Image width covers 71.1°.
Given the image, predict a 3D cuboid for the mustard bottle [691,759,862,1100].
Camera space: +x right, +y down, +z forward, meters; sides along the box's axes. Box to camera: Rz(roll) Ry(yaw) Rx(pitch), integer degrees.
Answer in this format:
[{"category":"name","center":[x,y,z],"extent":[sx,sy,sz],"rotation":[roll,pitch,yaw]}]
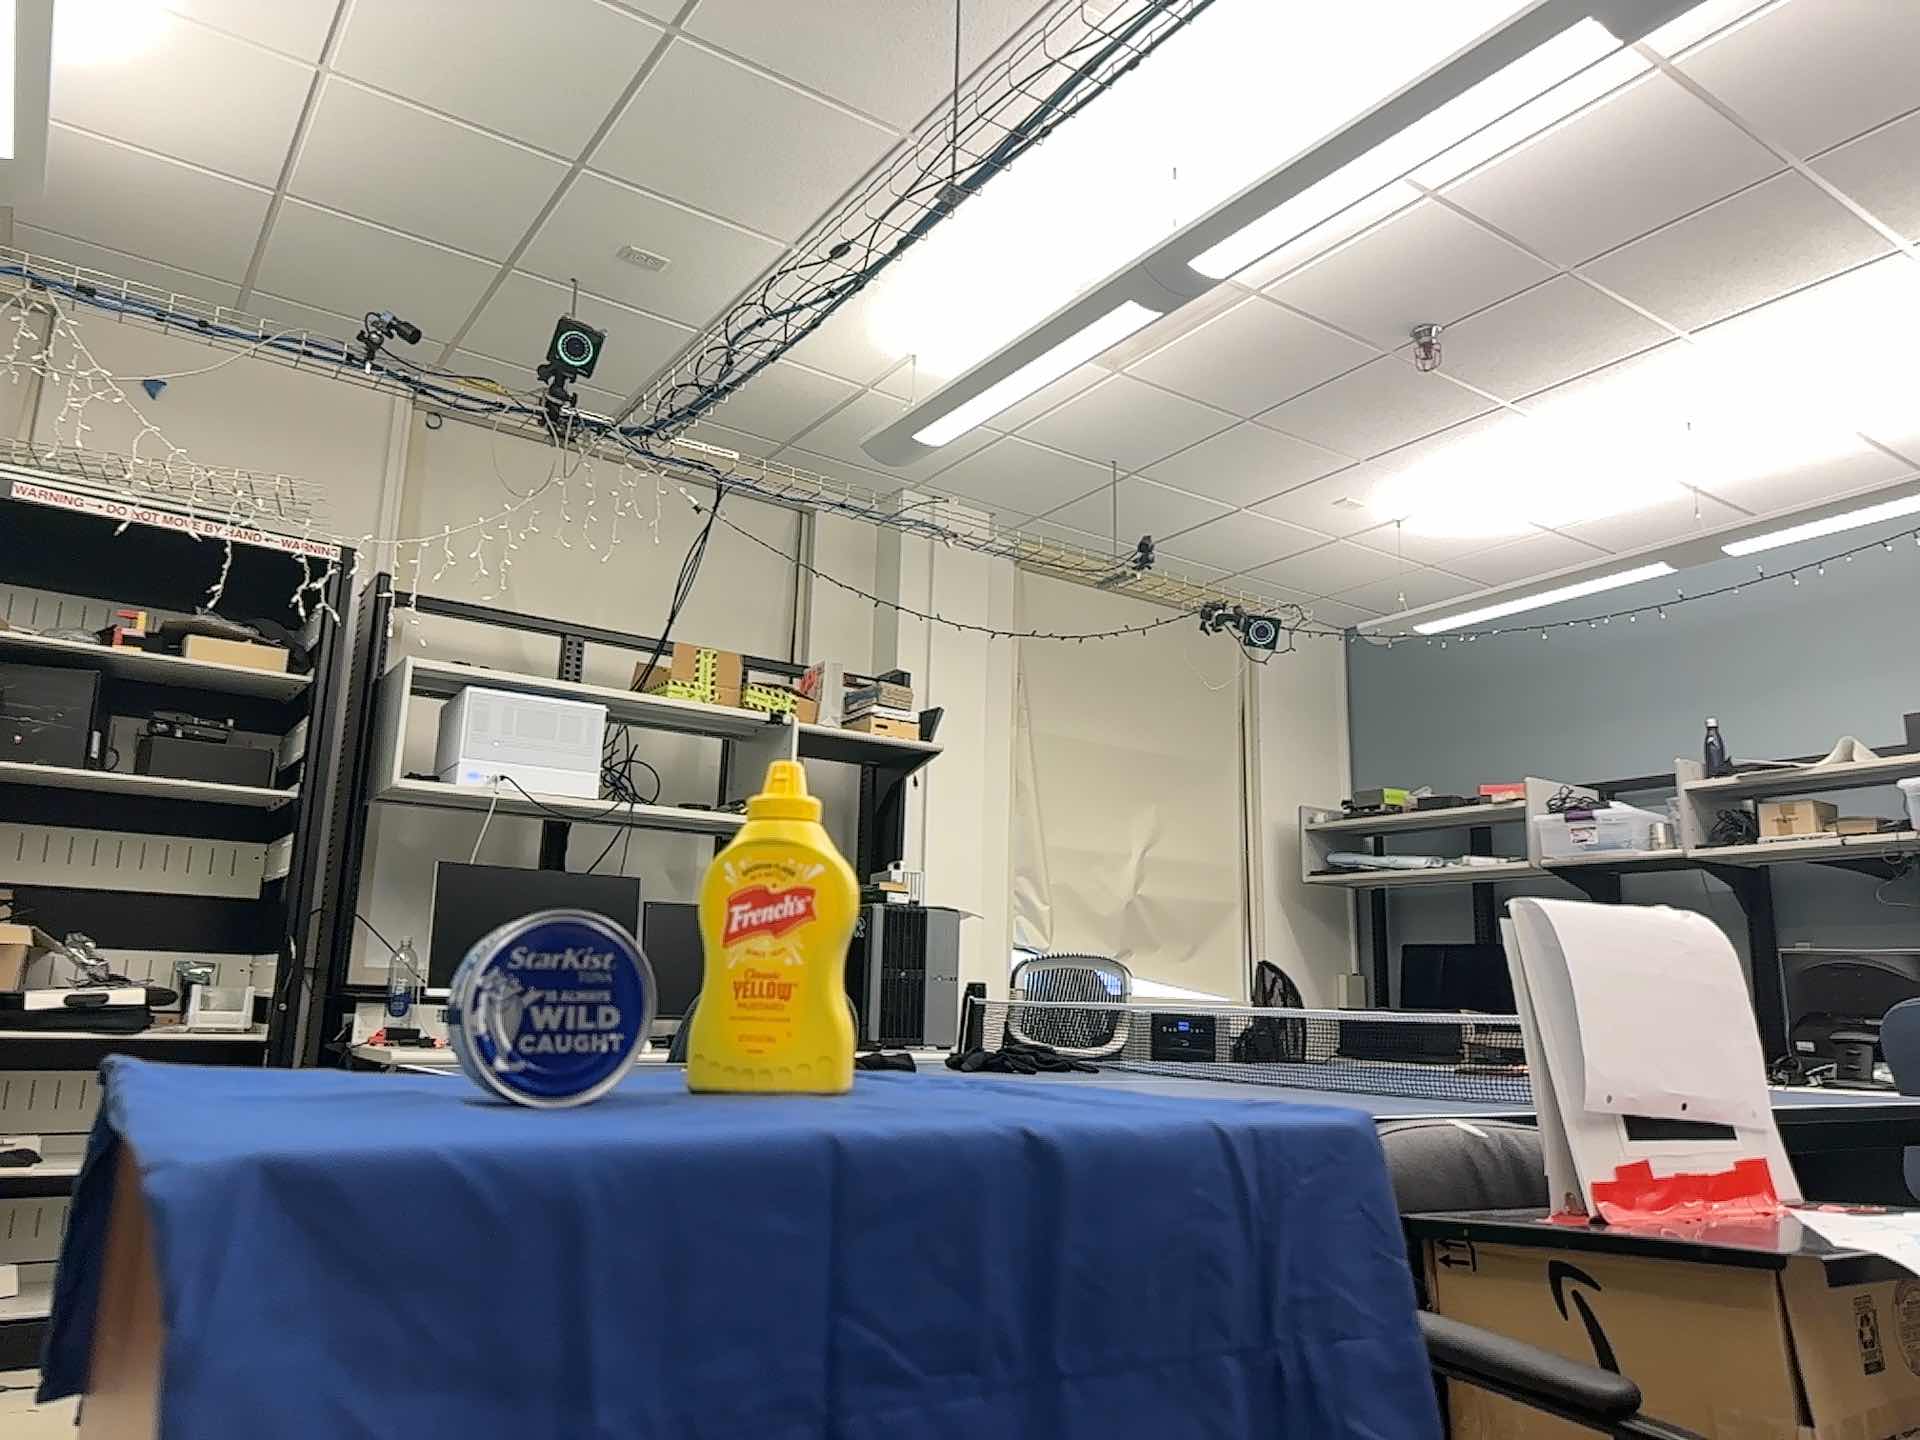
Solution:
[{"category":"mustard bottle","center":[-0.099,0.112,0.740],"extent":[0.092,0.184,0.054],"rotation":[-2,-12,16]}]

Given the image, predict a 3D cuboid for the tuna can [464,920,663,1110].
[{"category":"tuna can","center":[-0.184,0.136,0.624],"extent":[0.083,0.083,0.034],"rotation":[8,-14,-30]}]
